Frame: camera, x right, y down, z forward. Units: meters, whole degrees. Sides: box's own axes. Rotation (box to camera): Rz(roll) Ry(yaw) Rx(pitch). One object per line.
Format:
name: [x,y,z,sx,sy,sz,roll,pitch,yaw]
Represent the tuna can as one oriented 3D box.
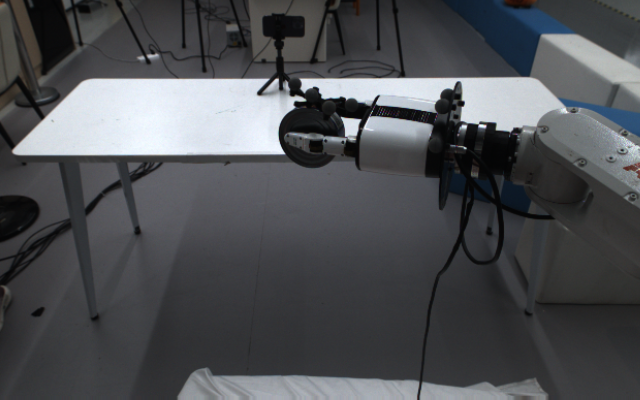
tuna can: [-0.010,-0.089,0.656,0.085,0.085,0.034,12,30,15]
